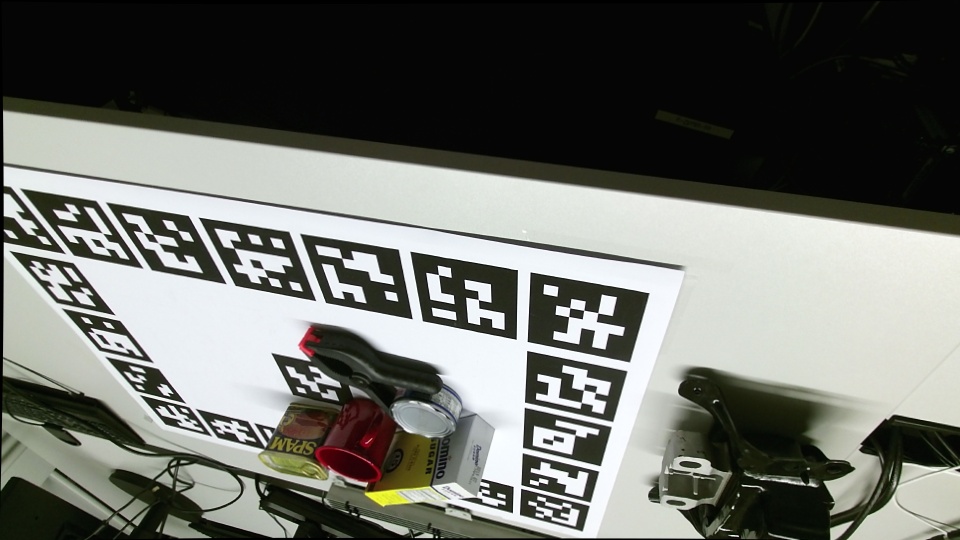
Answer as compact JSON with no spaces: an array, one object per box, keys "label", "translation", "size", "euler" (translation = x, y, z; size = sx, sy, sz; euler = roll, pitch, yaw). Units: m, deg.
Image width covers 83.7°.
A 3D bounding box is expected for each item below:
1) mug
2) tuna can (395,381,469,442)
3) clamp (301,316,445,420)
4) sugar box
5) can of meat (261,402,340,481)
[{"label":"mug","translation":[-0.155,0.223,0.697],"size":[0.093,0.081,0.117],"euler":[28,133,-5]},{"label":"tuna can","translation":[-0.058,0.169,0.647],"size":[0.086,0.033,0.086],"euler":[10,132,11]},{"label":"clamp","translation":[-0.133,0.112,0.629],"size":[0.165,0.036,0.122],"euler":[38,137,-9]},{"label":"sugar box","translation":[-0.065,0.247,0.690],"size":[0.177,0.092,0.045],"euler":[-23,121,37]},{"label":"can of meat","translation":[-0.249,0.240,0.758],"size":[0.102,0.083,0.058],"euler":[4,133,19]}]
